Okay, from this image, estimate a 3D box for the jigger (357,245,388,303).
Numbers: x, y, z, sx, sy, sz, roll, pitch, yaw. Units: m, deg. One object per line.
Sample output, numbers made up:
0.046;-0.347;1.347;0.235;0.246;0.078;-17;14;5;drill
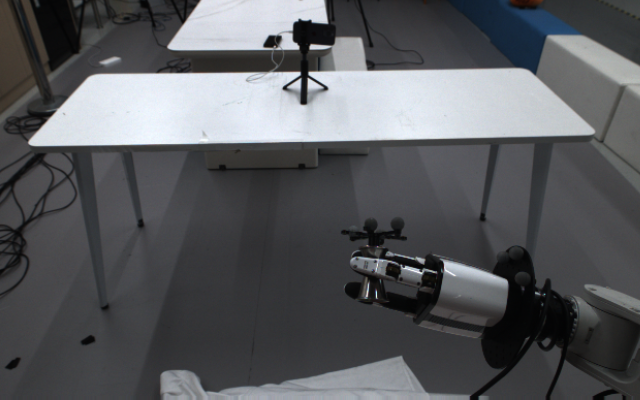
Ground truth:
0.068;0.095;0.630;0.043;0.043;0.071;3;75;1;jigger
